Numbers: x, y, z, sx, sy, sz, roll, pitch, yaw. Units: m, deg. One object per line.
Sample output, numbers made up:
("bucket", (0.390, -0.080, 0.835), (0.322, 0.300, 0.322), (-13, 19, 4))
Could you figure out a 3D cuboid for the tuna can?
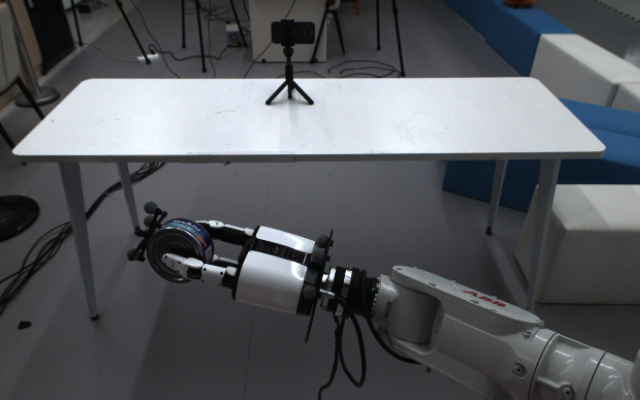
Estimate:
("tuna can", (-0.190, 0.070, 0.662), (0.085, 0.085, 0.034), (6, 20, 6))
